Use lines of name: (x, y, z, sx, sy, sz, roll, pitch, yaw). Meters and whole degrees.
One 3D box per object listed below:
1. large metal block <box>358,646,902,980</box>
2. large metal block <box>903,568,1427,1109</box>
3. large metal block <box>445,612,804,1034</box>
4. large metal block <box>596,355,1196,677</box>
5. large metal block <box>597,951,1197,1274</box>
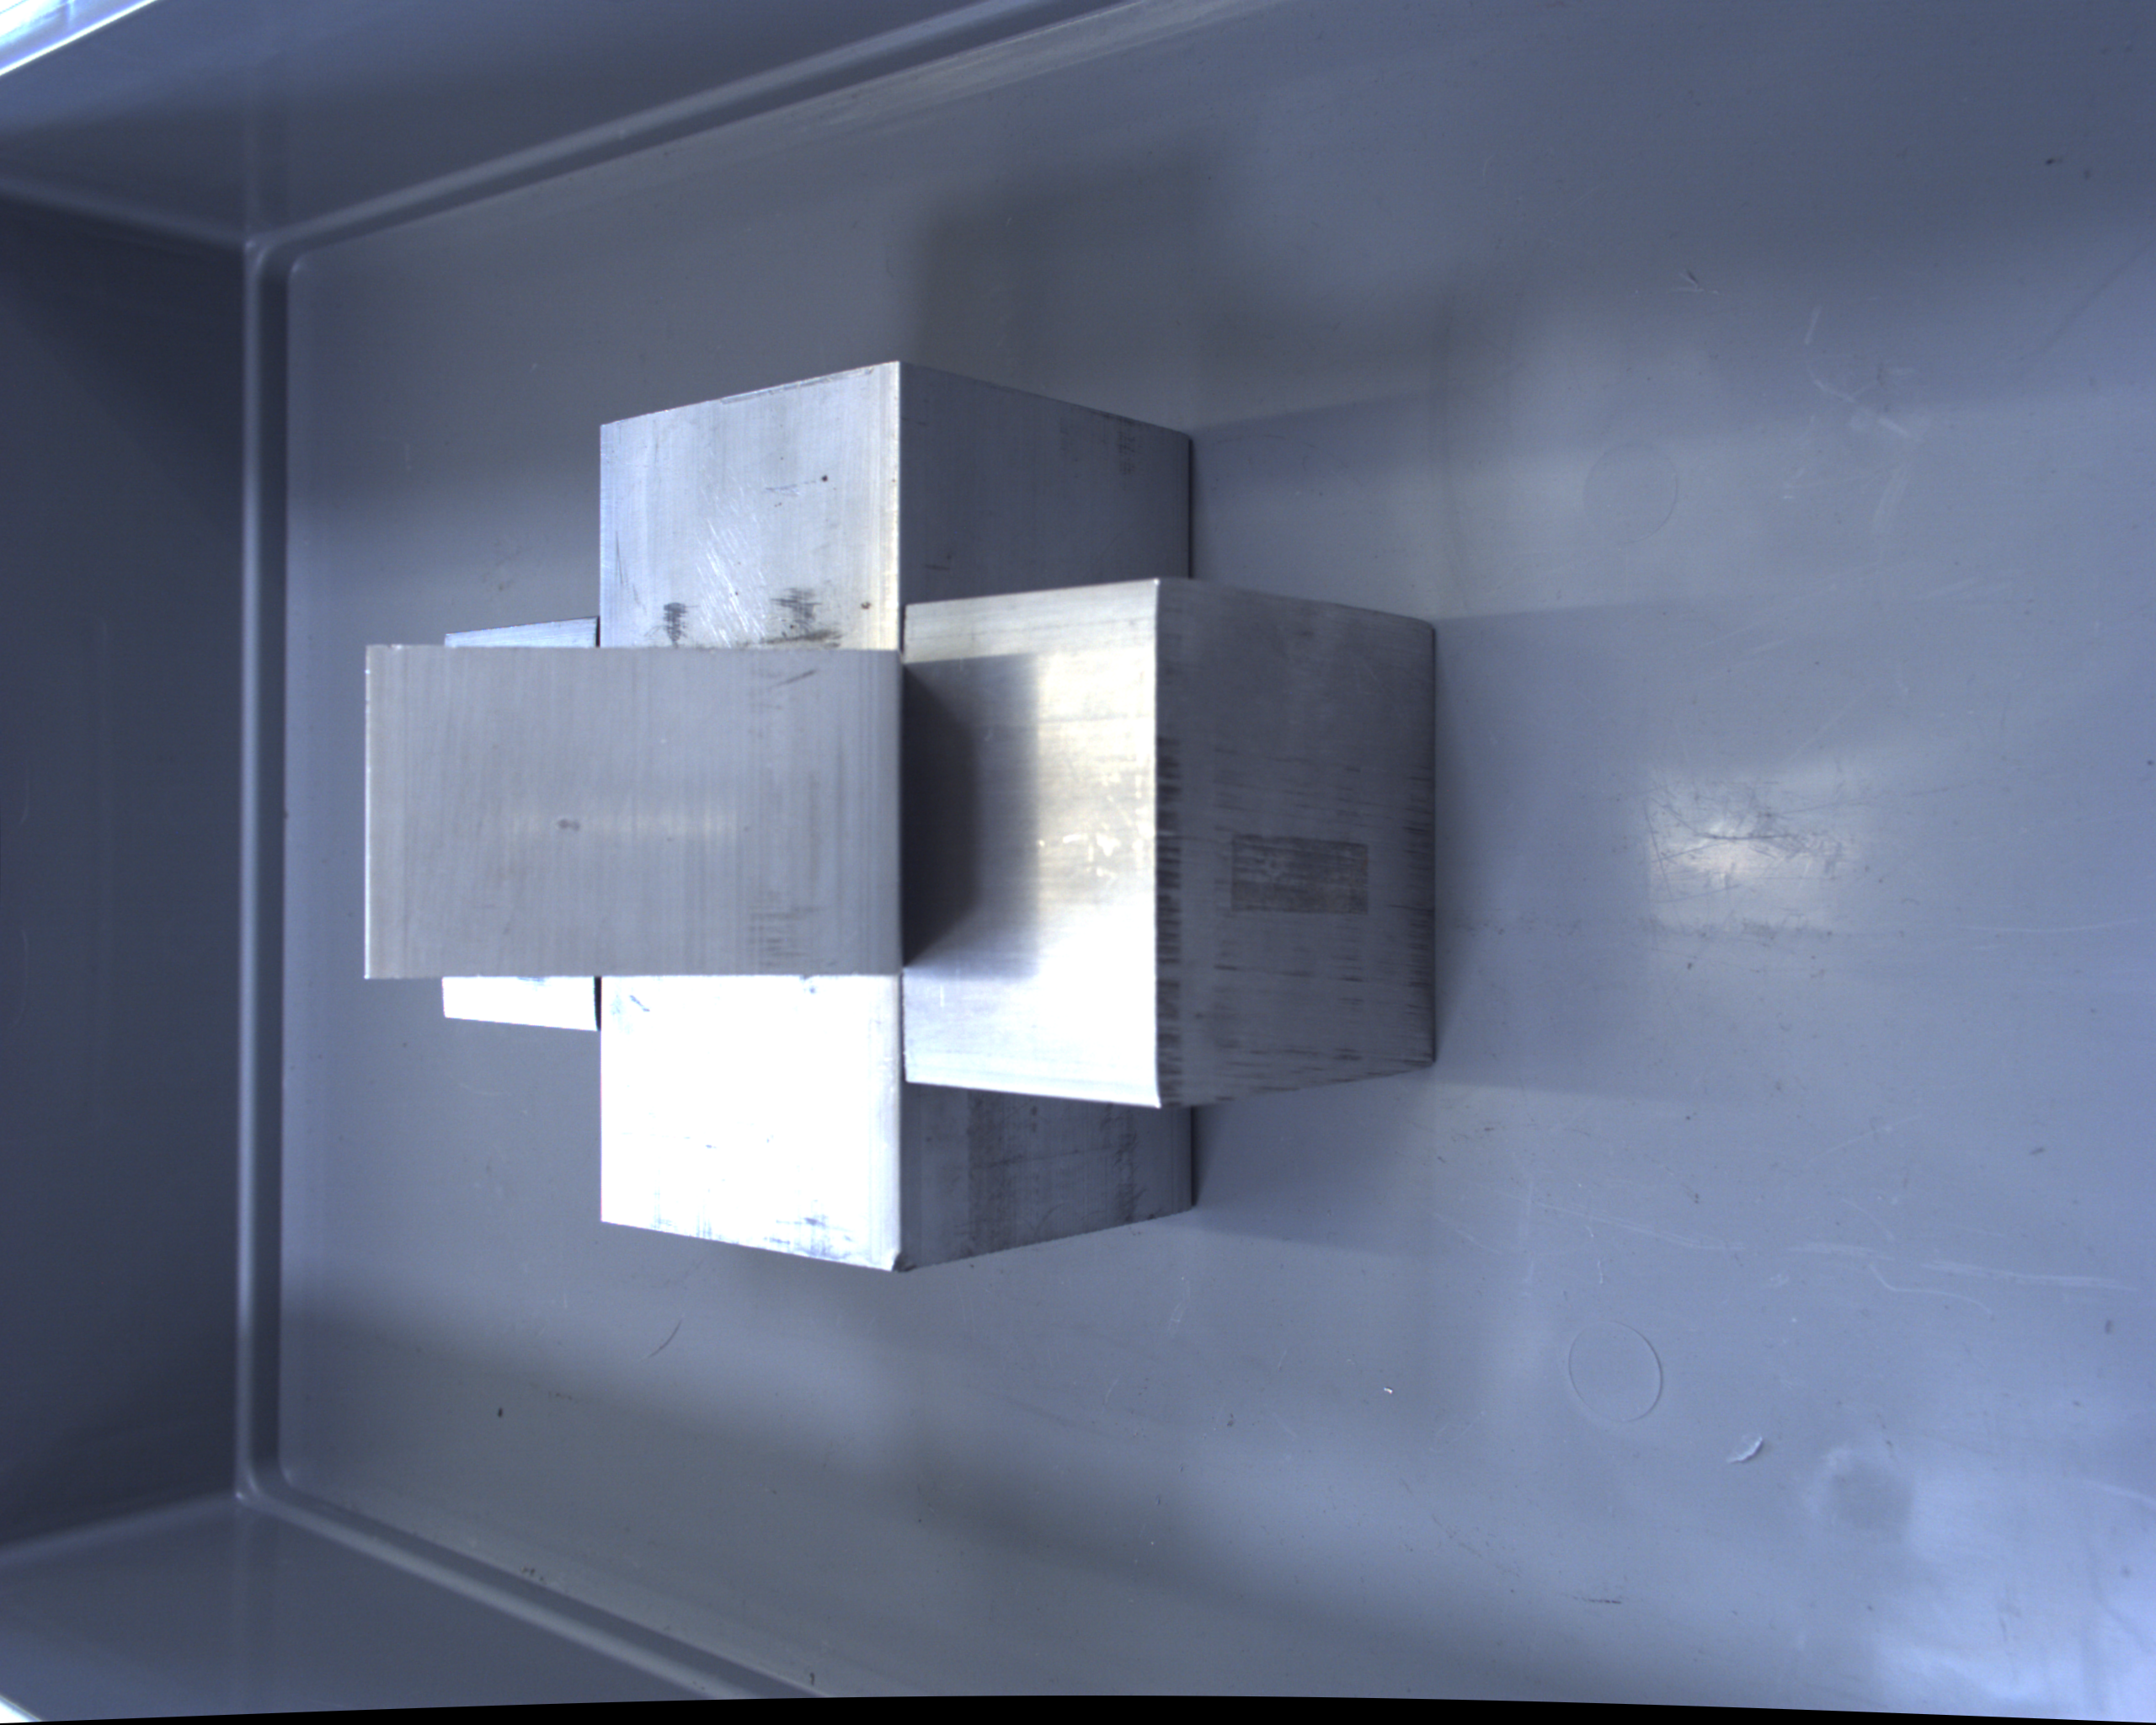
large metal block: (-0.070, -0.008, 0.354, 0.081, 0.080, 0.050, 0, 90, -5)
large metal block: (0.017, -0.004, 0.353, 0.050, 0.081, 0.080, 0, 90, 39)
large metal block: (-0.084, -0.008, 0.440, 0.050, 0.081, 0.080, 0, 90, 40)
large metal block: (-0.034, -0.058, 0.398, 0.080, 0.081, 0.050, 0, 90, 40)
large metal block: (-0.034, 0.042, 0.398, 0.080, 0.081, 0.050, 0, 90, 40)
